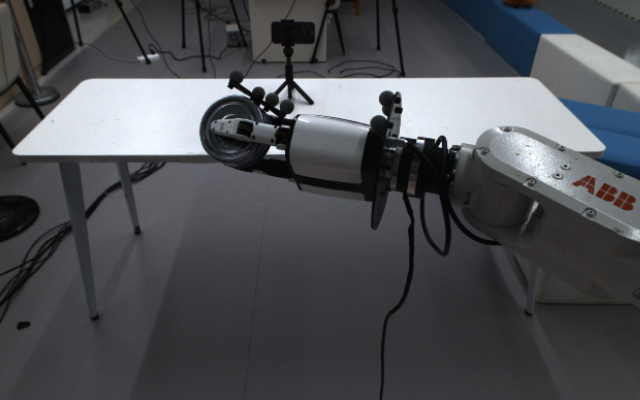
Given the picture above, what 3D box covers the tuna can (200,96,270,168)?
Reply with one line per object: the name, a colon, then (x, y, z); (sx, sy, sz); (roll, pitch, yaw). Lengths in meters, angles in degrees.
tuna can: (-0.100, -0.078, 0.594); (0.085, 0.085, 0.034); (12, -5, 15)
